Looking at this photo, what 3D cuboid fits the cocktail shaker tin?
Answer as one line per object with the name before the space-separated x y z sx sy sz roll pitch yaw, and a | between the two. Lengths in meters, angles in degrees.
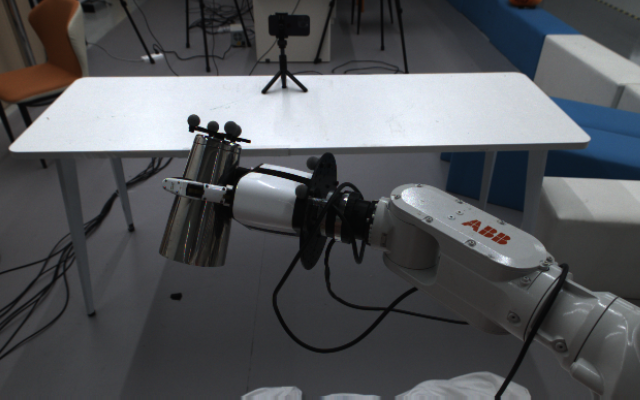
cocktail shaker tin | -0.162 -0.001 0.679 0.093 0.170 0.093 13 2 -1
